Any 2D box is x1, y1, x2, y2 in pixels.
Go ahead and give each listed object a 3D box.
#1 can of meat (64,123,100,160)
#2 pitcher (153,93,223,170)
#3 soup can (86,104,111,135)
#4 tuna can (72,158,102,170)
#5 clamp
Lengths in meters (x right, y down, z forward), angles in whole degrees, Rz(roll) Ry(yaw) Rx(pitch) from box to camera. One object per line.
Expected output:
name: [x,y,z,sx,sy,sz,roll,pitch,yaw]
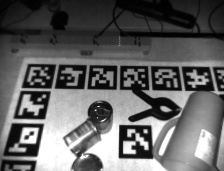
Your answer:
can of meat: [-0.088,0.163,0.616,0.084,0.102,0.057,-34,67,-11]
pitcher: [0.227,0.141,0.607,0.186,0.135,0.243,8,52,30]
soup can: [-0.040,0.105,0.652,0.068,0.102,0.067,-2,64,4]
tuna can: [-0.070,0.252,0.610,0.086,0.034,0.085,0,64,1]
clamp: [0.119,0.073,0.714,0.165,0.037,0.121,3,58,-1]
